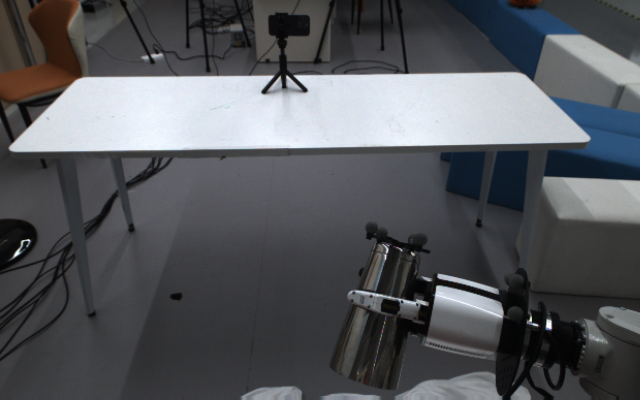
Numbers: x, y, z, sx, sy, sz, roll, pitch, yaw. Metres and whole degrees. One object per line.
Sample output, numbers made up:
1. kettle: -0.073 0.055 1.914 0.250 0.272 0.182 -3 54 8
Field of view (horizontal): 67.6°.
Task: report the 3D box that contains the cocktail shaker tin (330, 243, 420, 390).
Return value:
1. cocktail shaker tin: 0.078 0.147 0.636 0.093 0.170 0.093 16 -7 2
